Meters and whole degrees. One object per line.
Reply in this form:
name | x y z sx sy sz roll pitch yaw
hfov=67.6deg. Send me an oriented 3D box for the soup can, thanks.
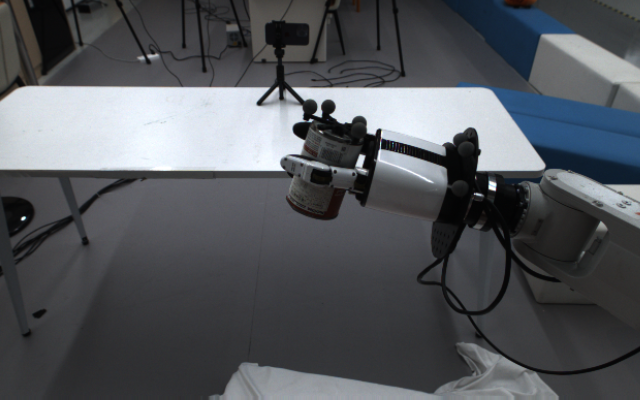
soup can | 0.007 -0.036 0.581 0.067 0.101 0.067 17 21 -7
